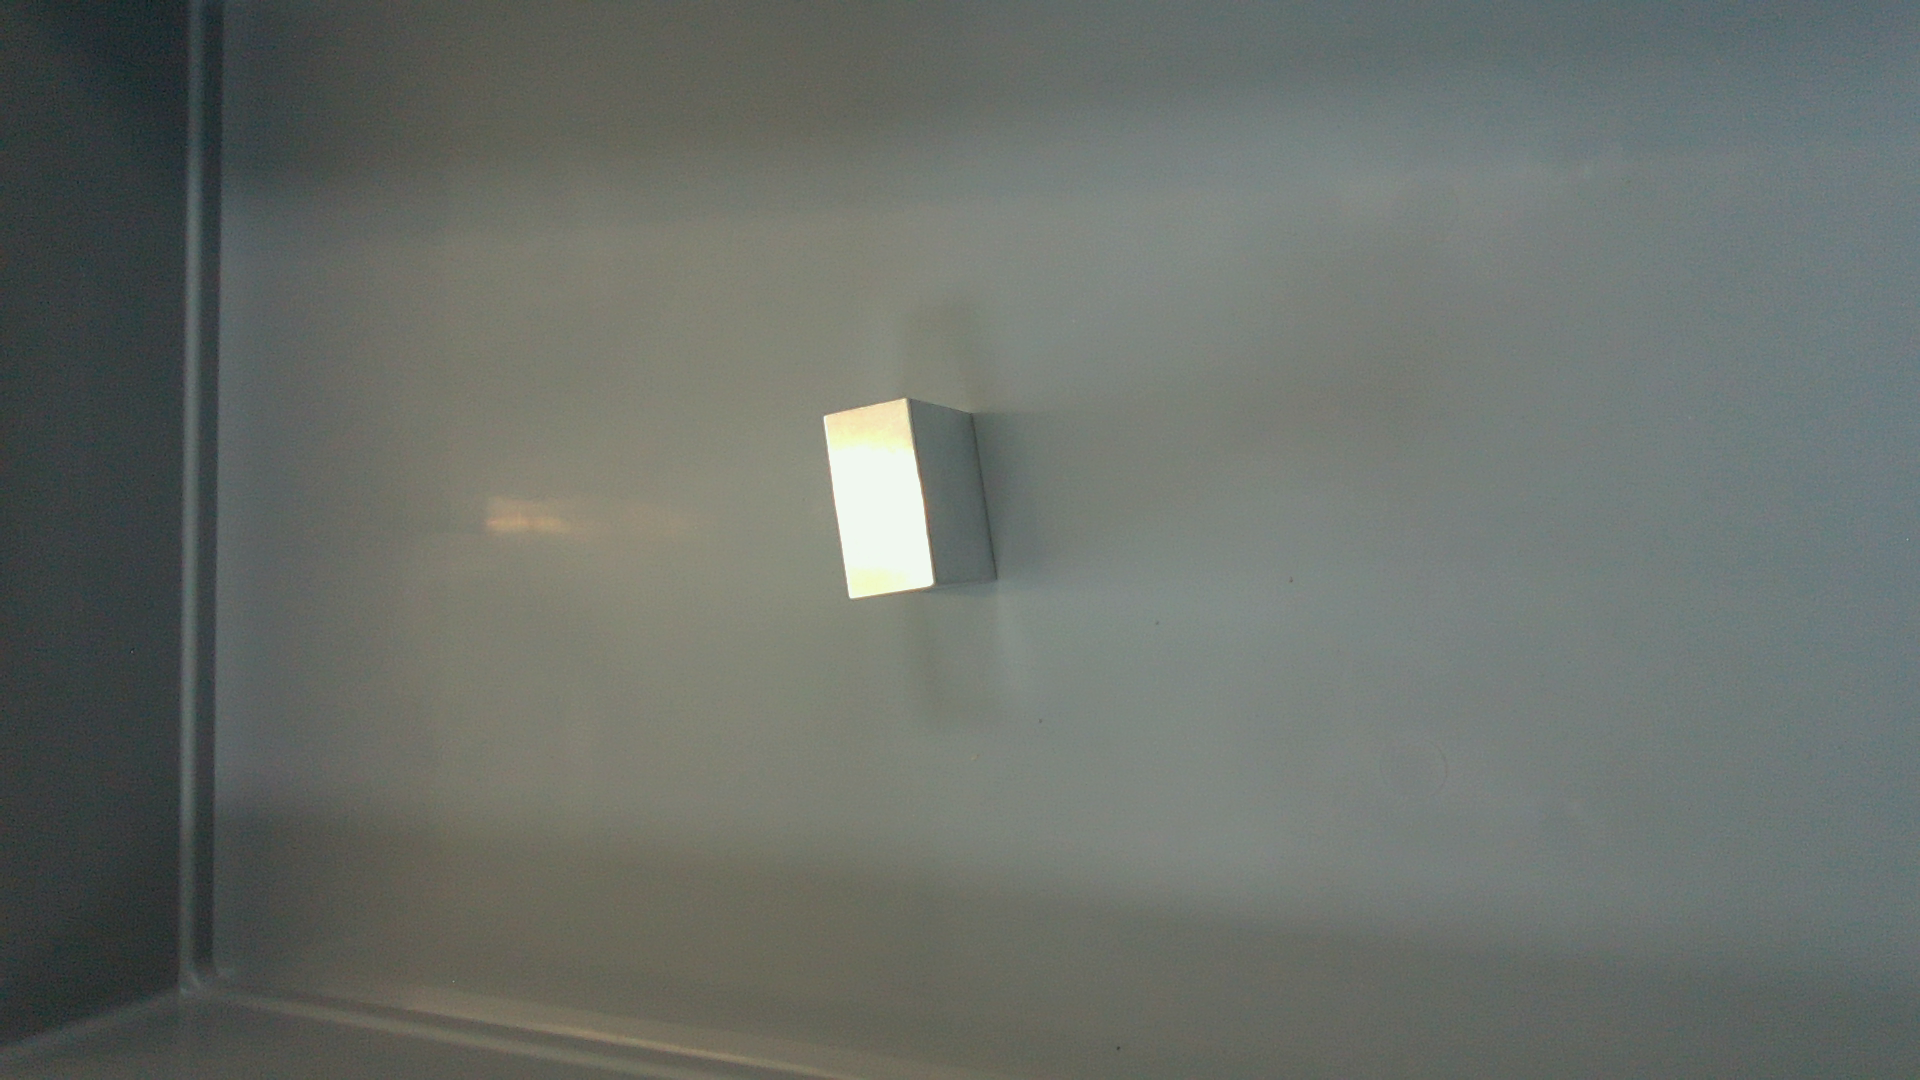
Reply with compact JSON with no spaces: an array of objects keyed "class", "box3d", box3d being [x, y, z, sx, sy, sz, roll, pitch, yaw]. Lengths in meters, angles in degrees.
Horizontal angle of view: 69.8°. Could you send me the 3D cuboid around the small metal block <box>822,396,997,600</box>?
[{"class":"small metal block","box3d":[-0.013,-0.011,0.384,0.025,0.050,0.050,-9,86,20]}]
